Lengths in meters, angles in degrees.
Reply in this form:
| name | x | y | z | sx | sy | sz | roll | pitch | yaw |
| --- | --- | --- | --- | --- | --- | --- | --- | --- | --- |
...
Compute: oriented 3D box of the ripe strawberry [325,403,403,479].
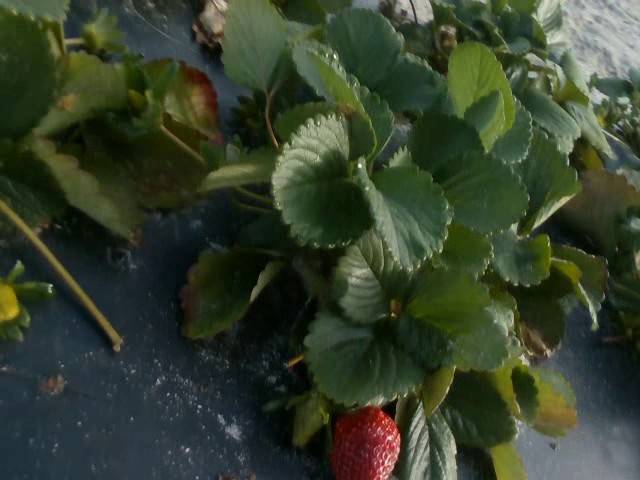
| name | x | y | z | sx | sy | sz | roll | pitch | yaw |
| --- | --- | --- | --- | --- | --- | --- | --- | --- | --- |
| ripe strawberry | 0.015 | 0.070 | 0.205 | 0.029 | 0.036 | 0.021 | 16 | -36 | -15 |
